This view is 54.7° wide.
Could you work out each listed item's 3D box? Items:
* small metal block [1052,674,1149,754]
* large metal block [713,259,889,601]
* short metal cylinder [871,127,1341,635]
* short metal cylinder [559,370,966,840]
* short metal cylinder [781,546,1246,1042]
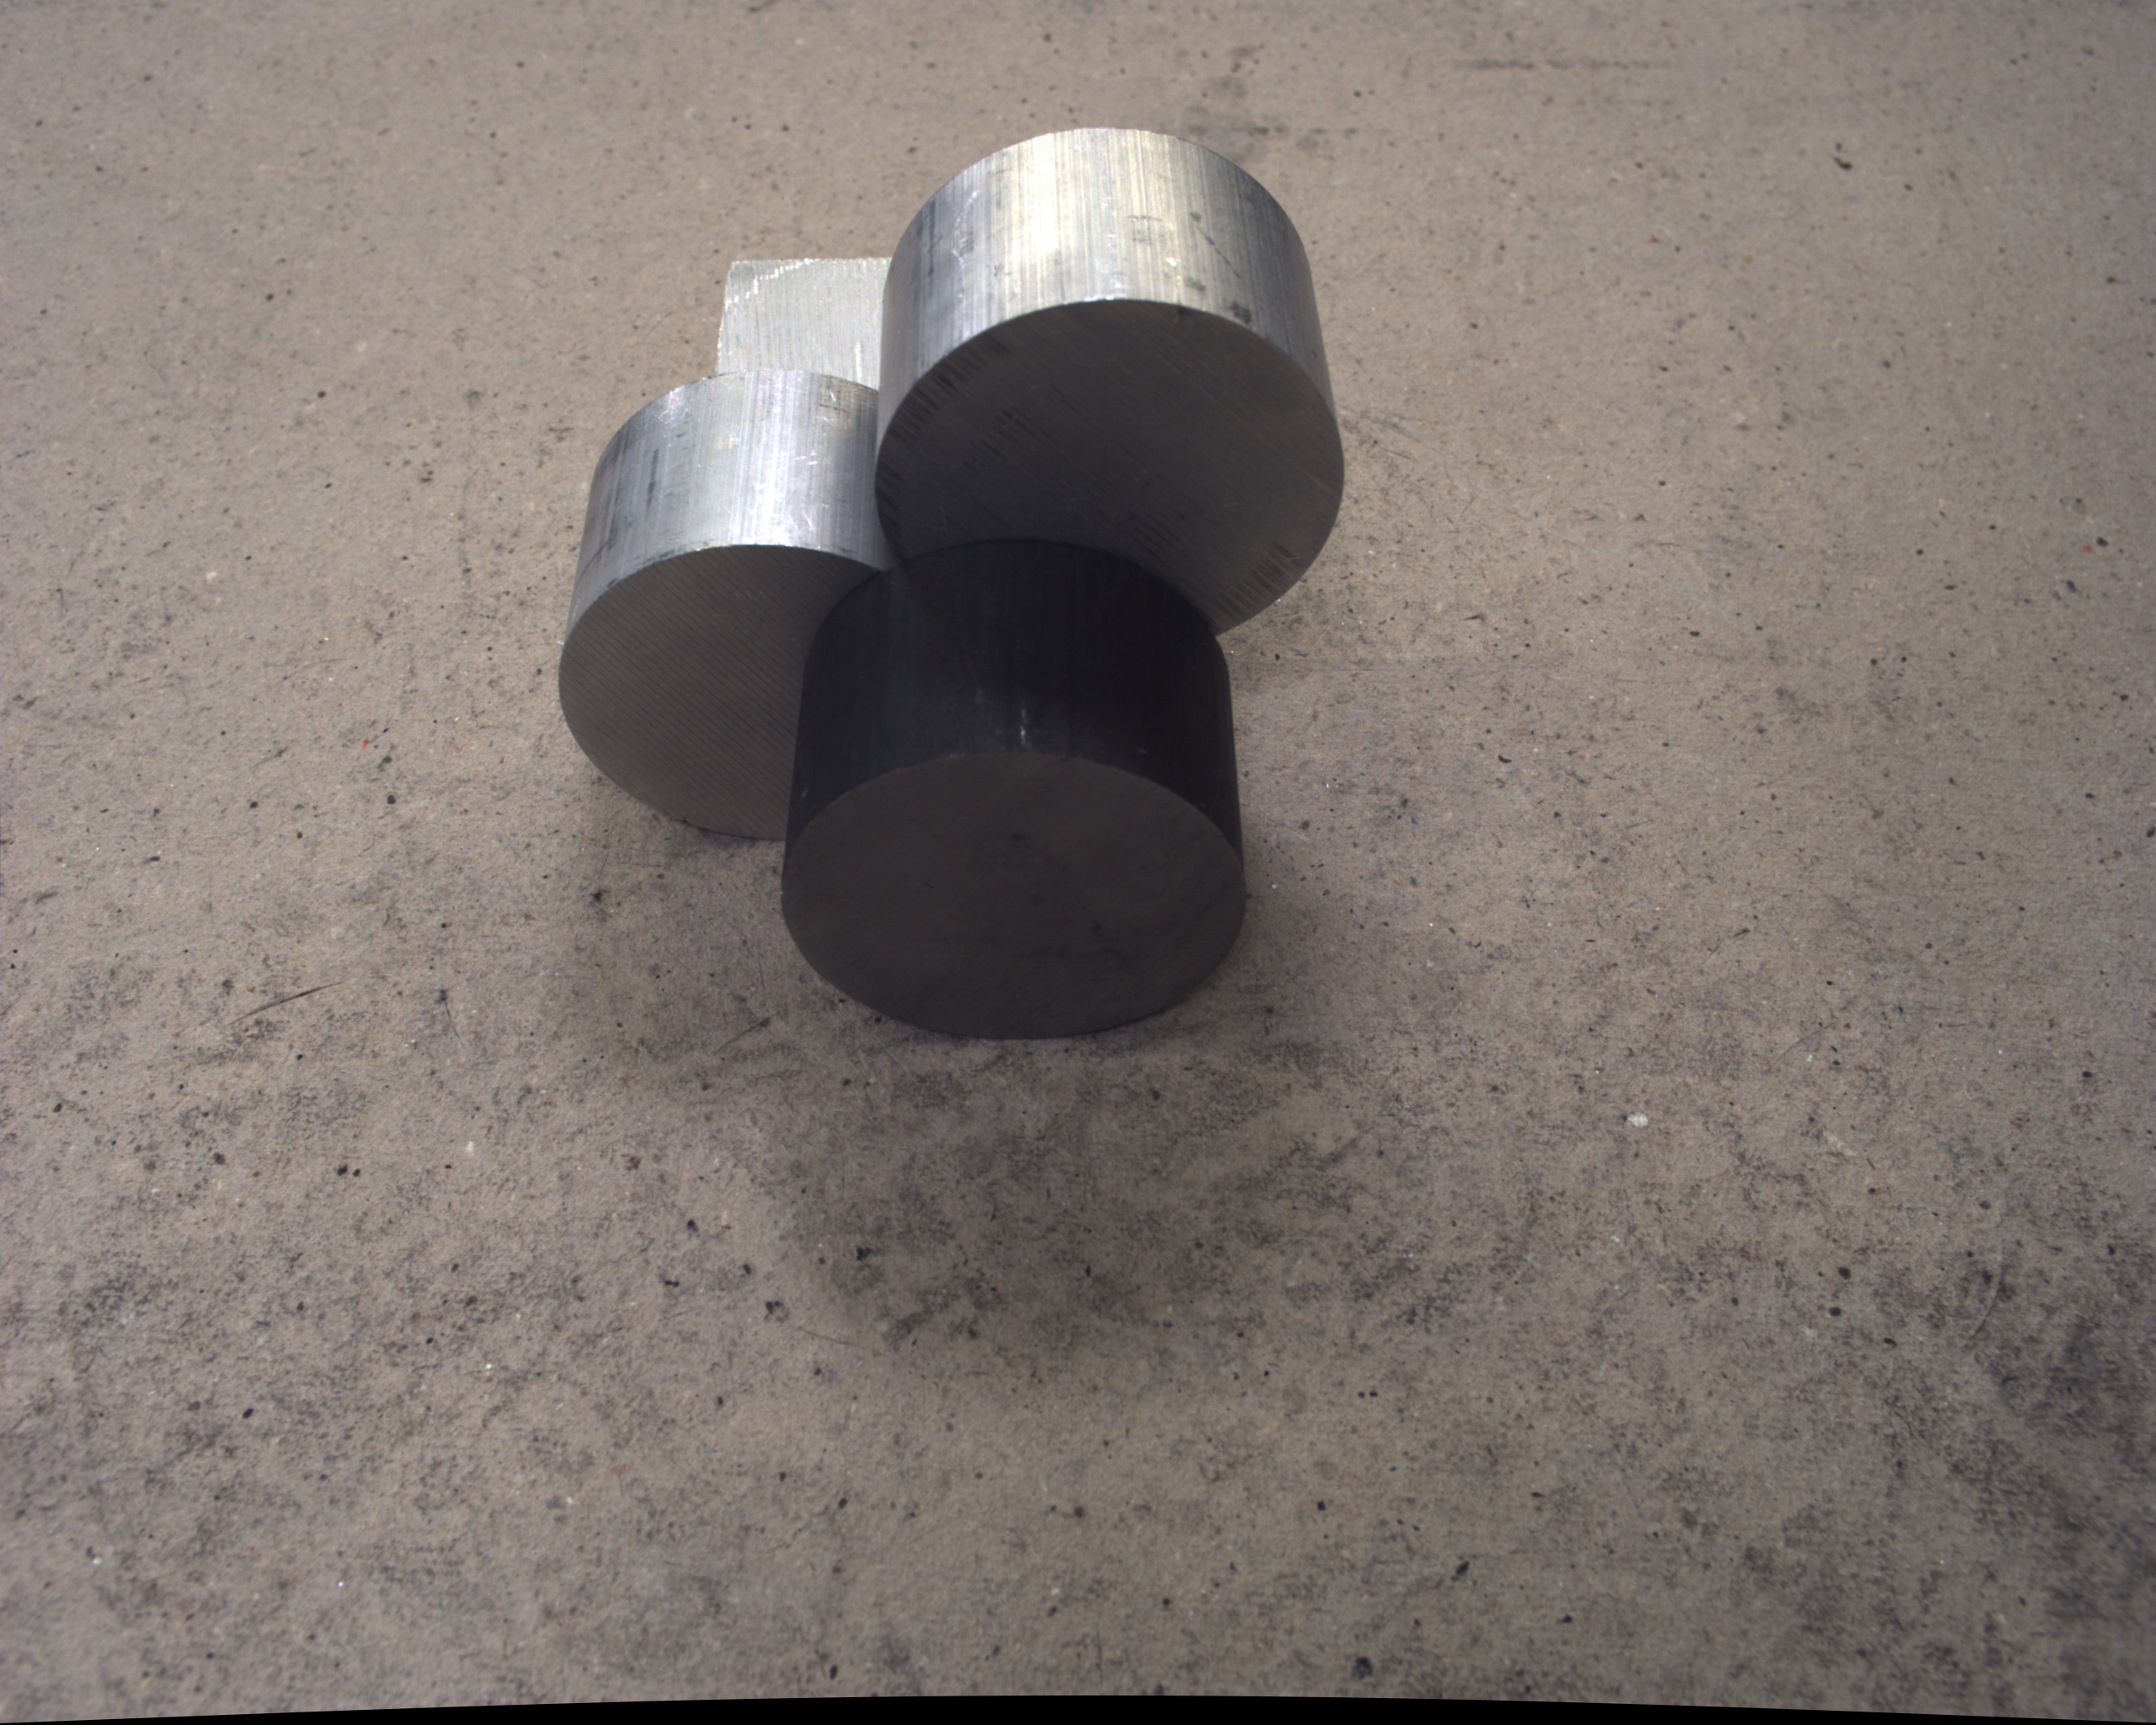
[{"bbox_3d":[0.008,-0.039,0.424,0.025,0.050,0.050,1,50,1],"label":"small metal block"},{"bbox_3d":[-0.037,-0.090,0.465,0.081,0.050,0.080,-1,50,-1],"label":"large metal block"},{"bbox_3d":[0.004,-0.082,0.374,0.081,0.080,0.050,-2,50,-2],"label":"short metal cylinder"},{"bbox_3d":[-0.058,-0.049,0.411,0.081,0.080,0.050,-2,50,-2],"label":"short metal cylinder"},{"bbox_3d":[-0.011,-0.011,0.379,0.081,0.080,0.050,0,50,0],"label":"short metal cylinder"}]
